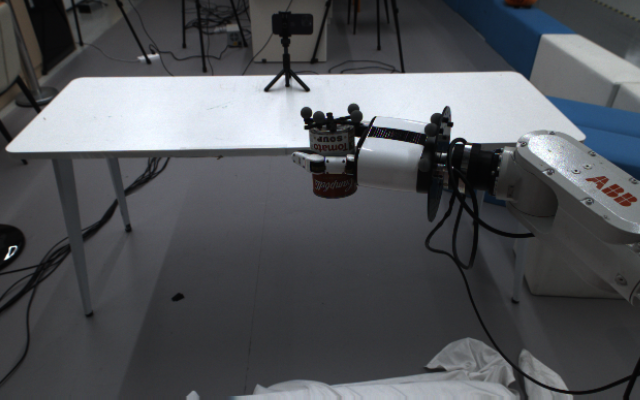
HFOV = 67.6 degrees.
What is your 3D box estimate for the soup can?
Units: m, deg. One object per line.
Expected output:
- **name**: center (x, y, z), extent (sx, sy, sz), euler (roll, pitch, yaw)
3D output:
- **soup can**: center (0.020, -0.062, 0.713), extent (0.067, 0.101, 0.067), euler (-4, 26, 2)
